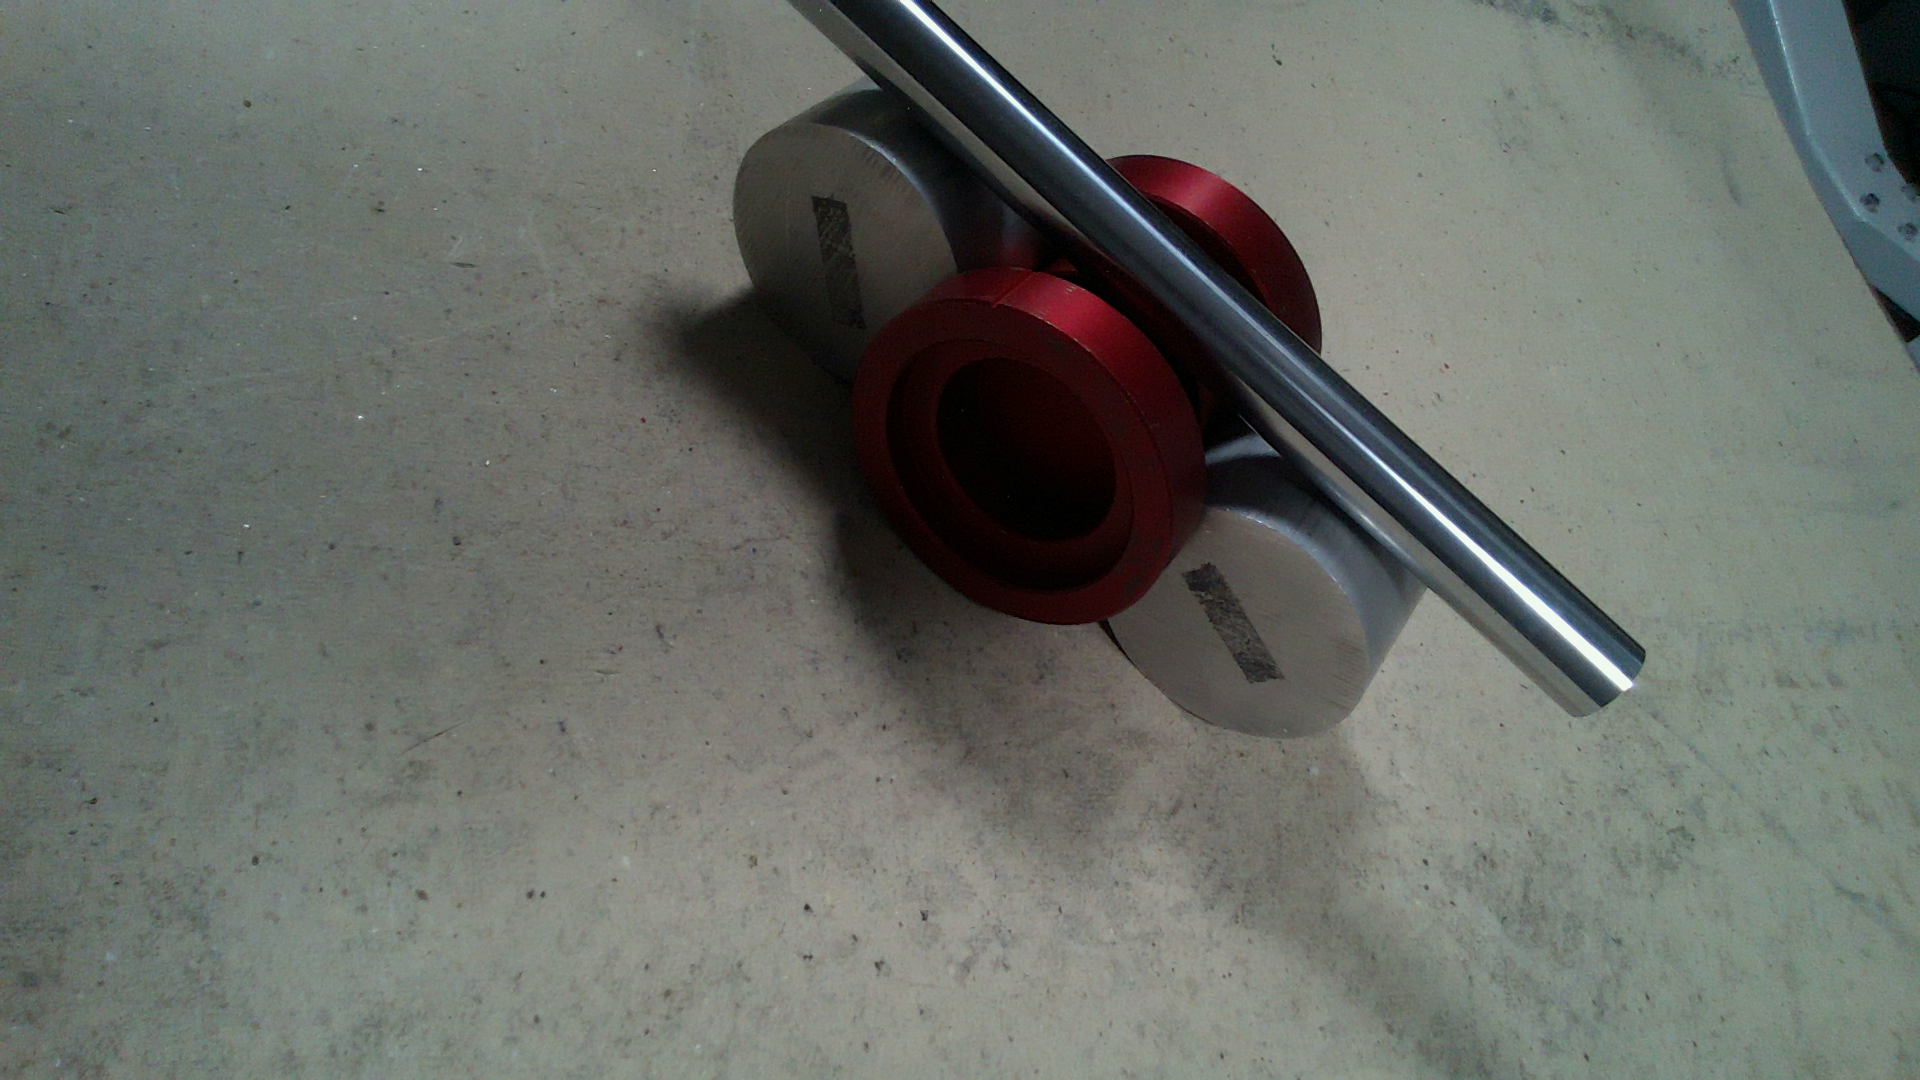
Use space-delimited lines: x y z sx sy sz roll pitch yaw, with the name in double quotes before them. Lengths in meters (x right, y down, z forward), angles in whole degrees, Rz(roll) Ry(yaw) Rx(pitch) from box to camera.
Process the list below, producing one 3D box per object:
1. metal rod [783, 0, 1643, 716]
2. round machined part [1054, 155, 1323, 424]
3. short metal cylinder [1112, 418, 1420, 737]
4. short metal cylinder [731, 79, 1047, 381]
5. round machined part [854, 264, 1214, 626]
"metal rod" 0.055 -0.065 0.357 0.300 0.025 0.025 43 51 1
"round machined part" 0.053 -0.059 0.408 0.098 0.098 0.042 43 56 2
"short metal cylinder" 0.088 0.010 0.395 0.080 0.080 0.050 43 51 2
"short metal cylinder" -0.019 -0.092 0.400 0.080 0.080 0.050 43 51 2
"round machined part" 0.023 -0.029 0.371 0.098 0.098 0.042 43 47 2
